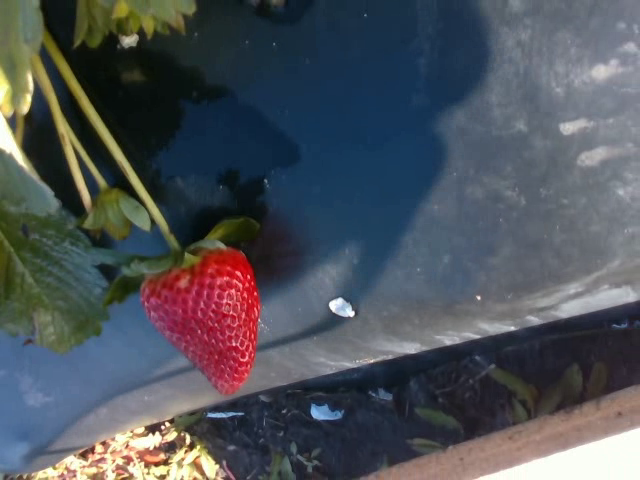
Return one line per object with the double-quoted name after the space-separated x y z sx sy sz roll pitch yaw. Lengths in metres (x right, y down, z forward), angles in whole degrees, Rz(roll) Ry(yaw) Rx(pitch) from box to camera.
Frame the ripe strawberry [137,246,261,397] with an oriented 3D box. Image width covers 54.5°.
-0.035 0.027 0.197 0.045 0.055 0.041 -21 -3 12 "ripe strawberry"
